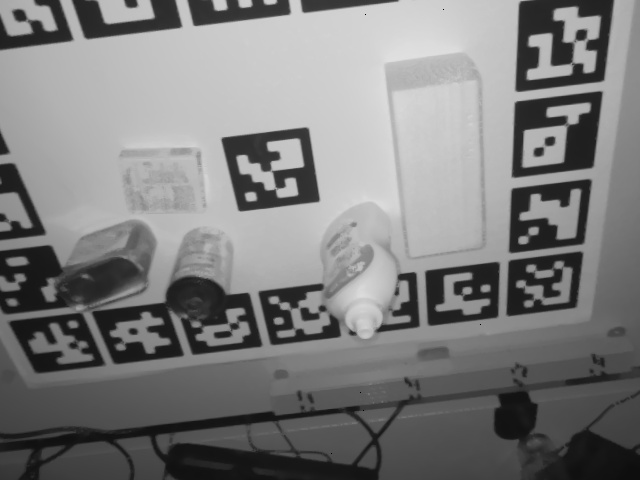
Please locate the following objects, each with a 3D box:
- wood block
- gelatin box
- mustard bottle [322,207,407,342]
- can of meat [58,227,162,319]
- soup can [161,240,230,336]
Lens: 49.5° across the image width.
[{"bbox_3d":[0.133,-0.081,0.757,0.091,0.090,0.205,-5,127,3],"label":"wood block"},{"bbox_3d":[-0.179,-0.062,0.783,0.090,0.030,0.072,0,121,-6],"label":"gelatin box"},{"bbox_3d":[0.050,0.043,0.778,0.095,0.193,0.058,-28,121,17],"label":"mustard bottle"},{"bbox_3d":[-0.243,0.036,0.817,0.101,0.084,0.057,-17,122,12],"label":"can of meat"},{"bbox_3d":[-0.143,0.054,0.812,0.068,0.103,0.067,-2,122,-2],"label":"soup can"}]
